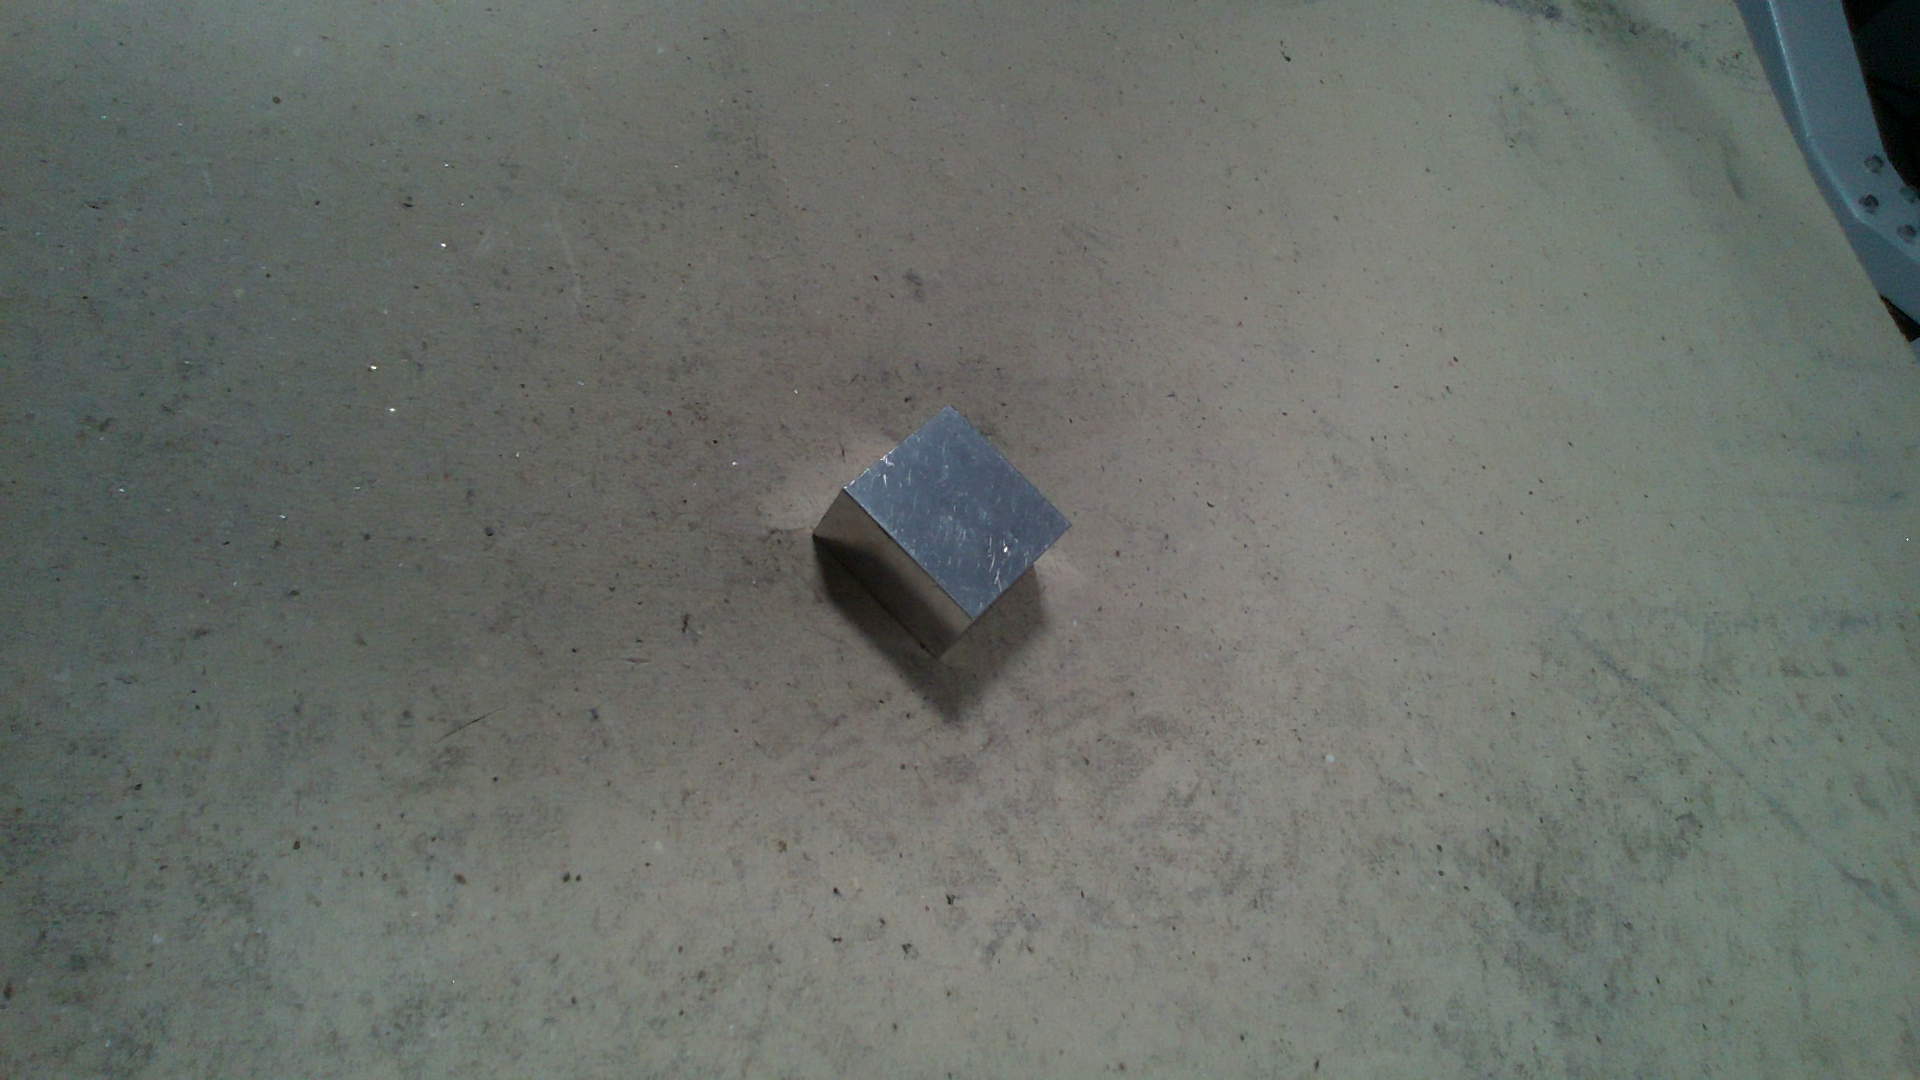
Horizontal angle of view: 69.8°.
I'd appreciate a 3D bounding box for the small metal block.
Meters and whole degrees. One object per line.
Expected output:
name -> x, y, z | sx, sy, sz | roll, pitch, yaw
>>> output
small metal block -> -0.005, -0.003, 0.389 | 0.050, 0.025, 0.050 | 45, 51, 3
